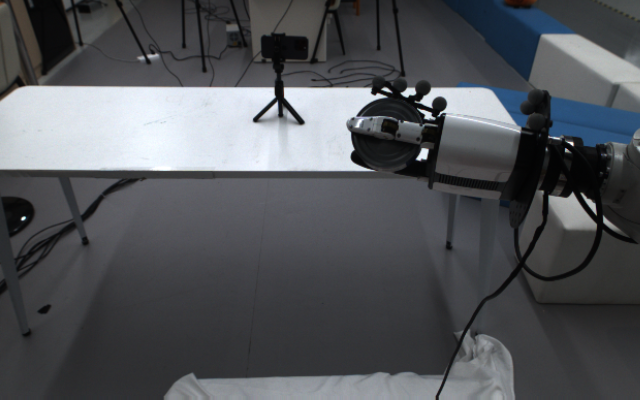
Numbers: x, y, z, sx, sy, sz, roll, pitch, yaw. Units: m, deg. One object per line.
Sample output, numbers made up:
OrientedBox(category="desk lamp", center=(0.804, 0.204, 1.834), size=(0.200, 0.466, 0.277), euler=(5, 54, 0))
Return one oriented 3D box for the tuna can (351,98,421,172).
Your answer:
OrientedBox(category="tuna can", center=(0.083, -0.080, 0.588), size=(0.085, 0.085, 0.034), euler=(13, -7, 16))
